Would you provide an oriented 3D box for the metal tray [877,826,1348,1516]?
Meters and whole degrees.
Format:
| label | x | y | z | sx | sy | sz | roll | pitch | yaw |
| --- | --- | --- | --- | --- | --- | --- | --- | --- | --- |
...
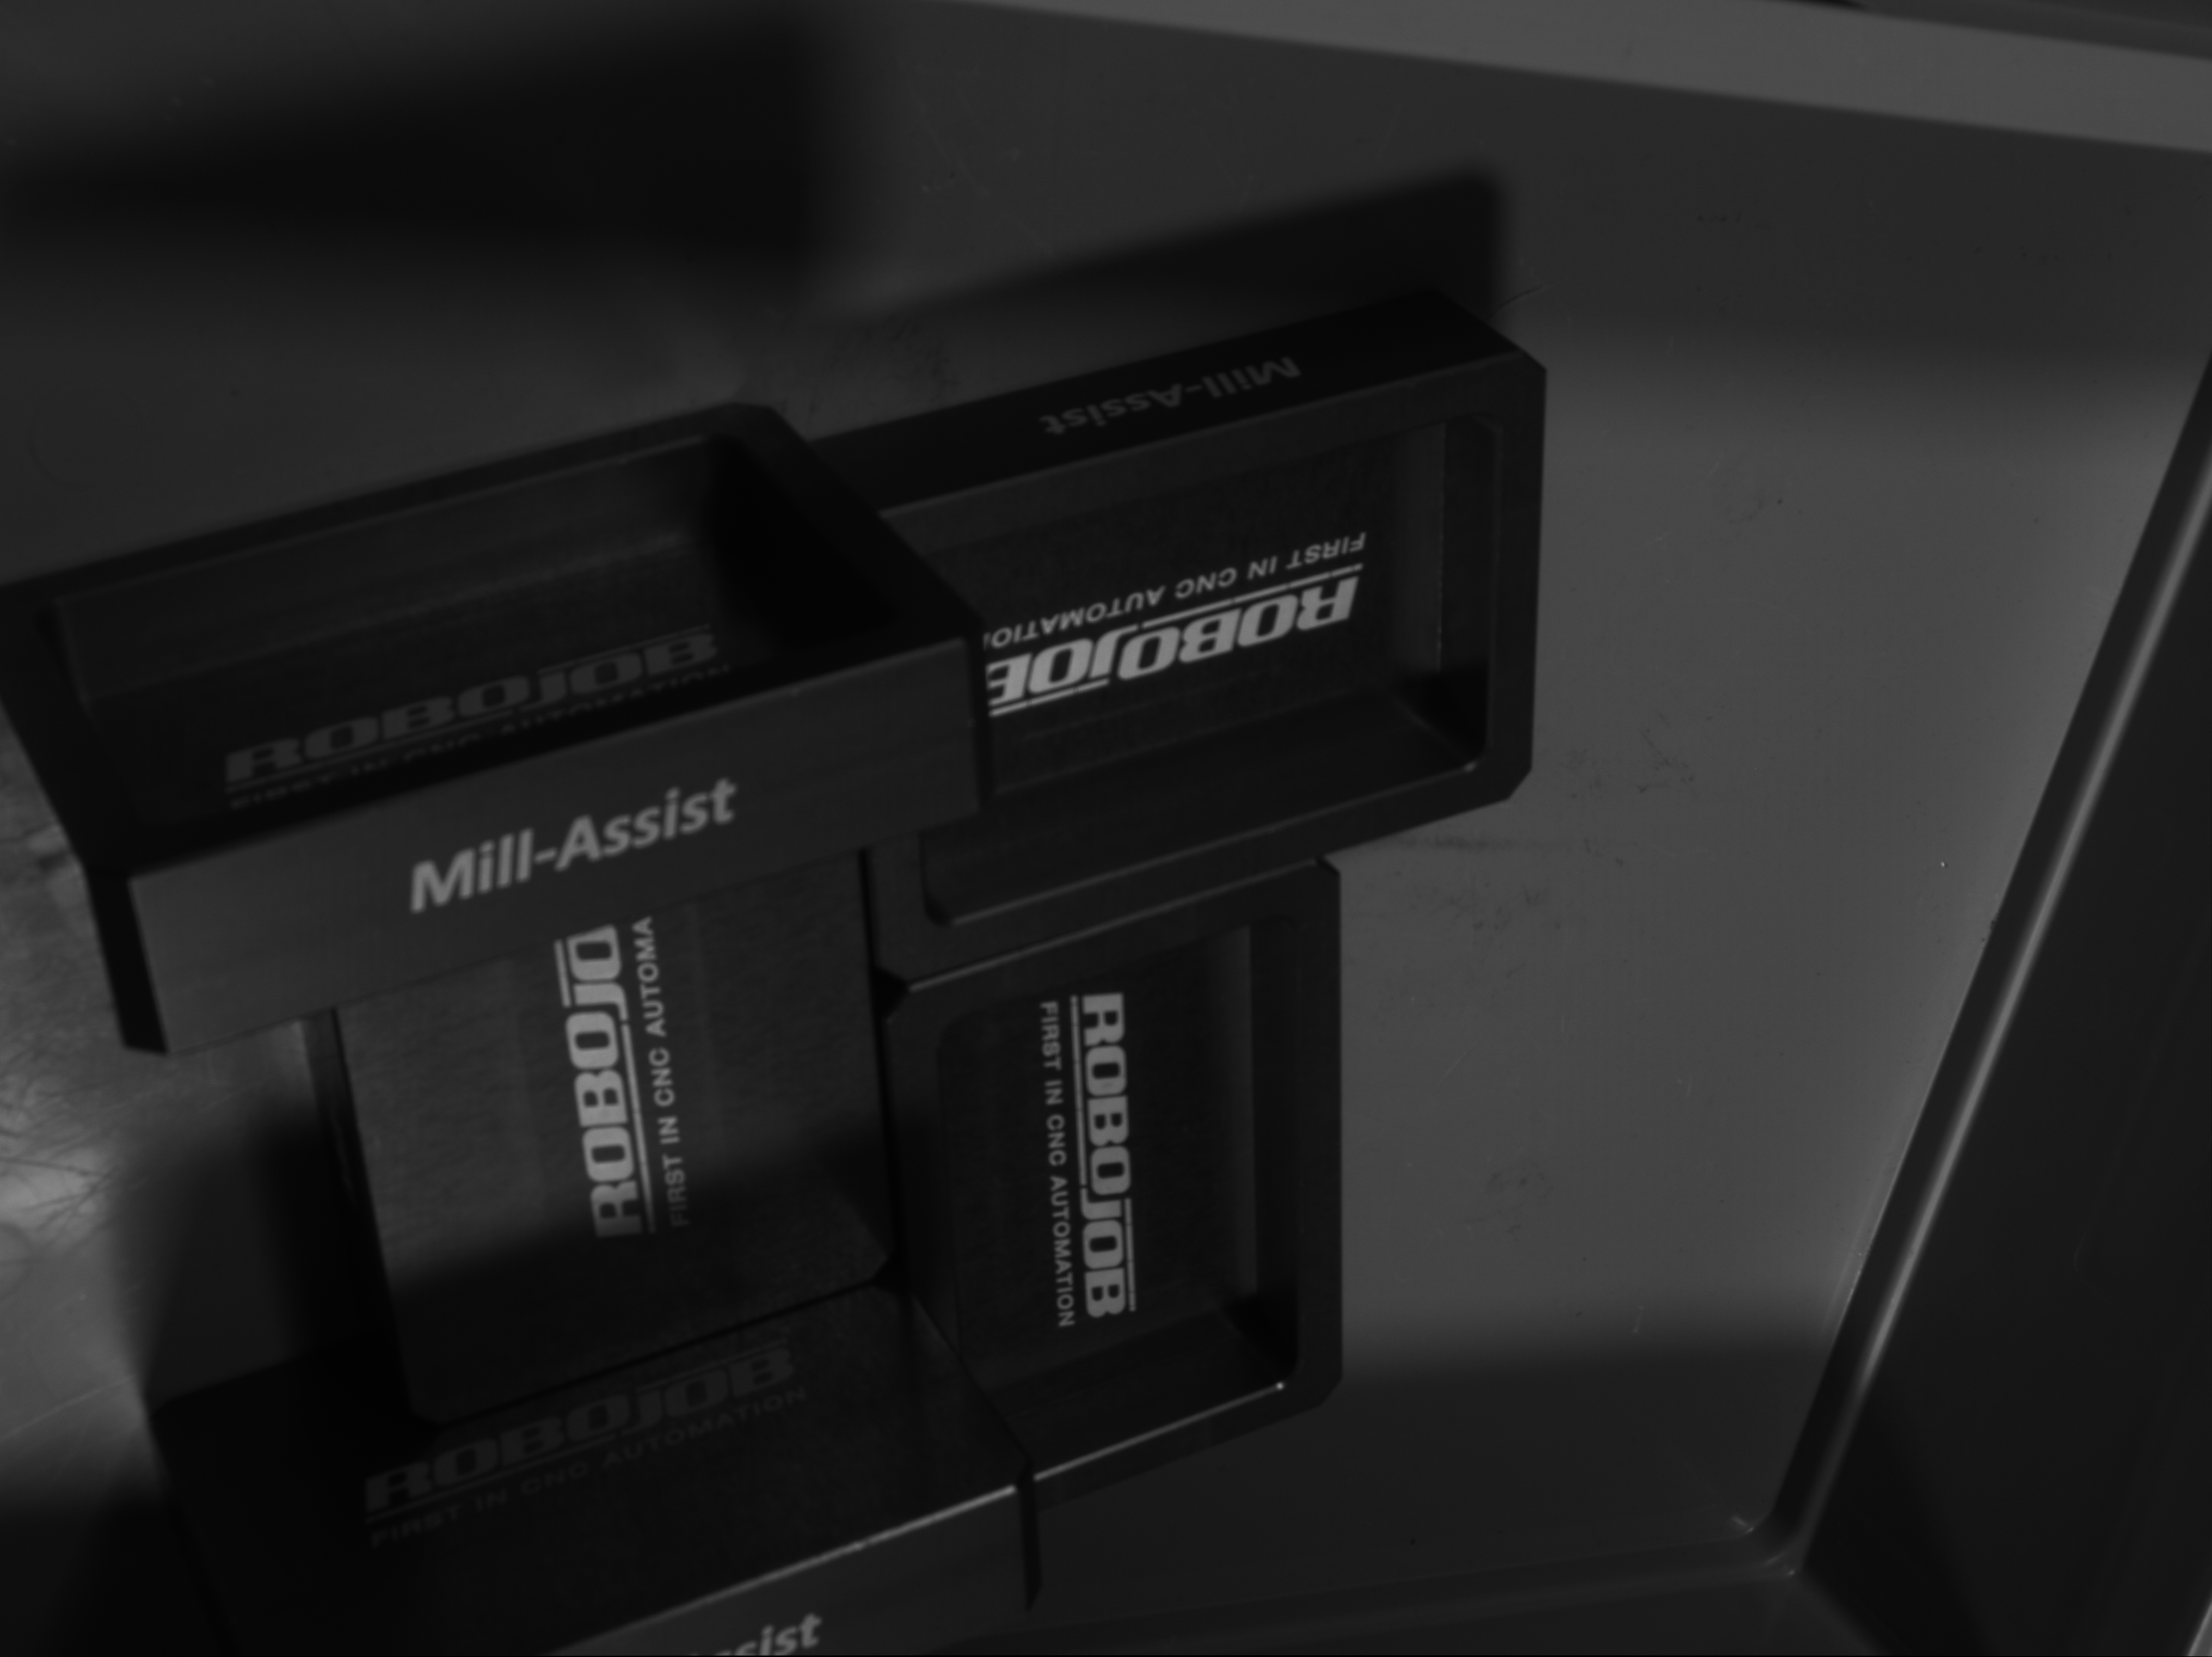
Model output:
| label | x | y | z | sx | sy | sz | roll | pitch | yaw |
| --- | --- | --- | --- | --- | --- | --- | --- | --- | --- |
| metal tray | -0.001 | 0.064 | 0.685 | 0.090 | 0.030 | 0.130 | -16 | 125 | -21 |

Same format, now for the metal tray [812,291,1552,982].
| label | x | y | z | sx | sy | sz | roll | pitch | yaw |
| --- | --- | --- | --- | --- | --- | --- | --- | --- | --- |
| metal tray | 0.013 | -0.034 | 0.632 | 0.130 | 0.030 | 0.090 | -16 | 125 | -21 |

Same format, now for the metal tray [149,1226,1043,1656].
| label | x | y | z | sx | sy | sz | roll | pitch | yaw |
| --- | --- | --- | --- | --- | --- | --- | --- | --- | --- |
| metal tray | -0.087 | 0.118 | 0.627 | 0.130 | 0.090 | 0.030 | -16 | 125 | -21 |

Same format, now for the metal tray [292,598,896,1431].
| label | x | y | z | sx | sy | sz | roll | pitch | yaw |
| --- | --- | --- | --- | --- | --- | --- | --- | --- | --- |
| metal tray | -0.086 | 0.031 | 0.614 | 0.090 | 0.030 | 0.130 | -16 | 125 | -21 |

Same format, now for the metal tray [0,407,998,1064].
| label | x | y | z | sx | sy | sz | roll | pitch | yaw |
| --- | --- | --- | --- | --- | --- | --- | --- | --- | --- |
| metal tray | -0.093 | -0.018 | 0.539 | 0.130 | 0.090 | 0.030 | -17 | 126 | -21 |
